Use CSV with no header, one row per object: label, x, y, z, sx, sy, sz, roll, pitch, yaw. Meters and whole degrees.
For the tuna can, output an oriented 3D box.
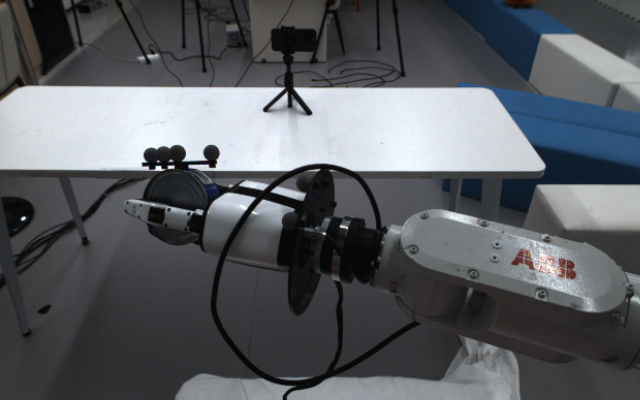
tuna can,-0.154,0.007,0.549,0.085,0.085,0.034,15,9,18
